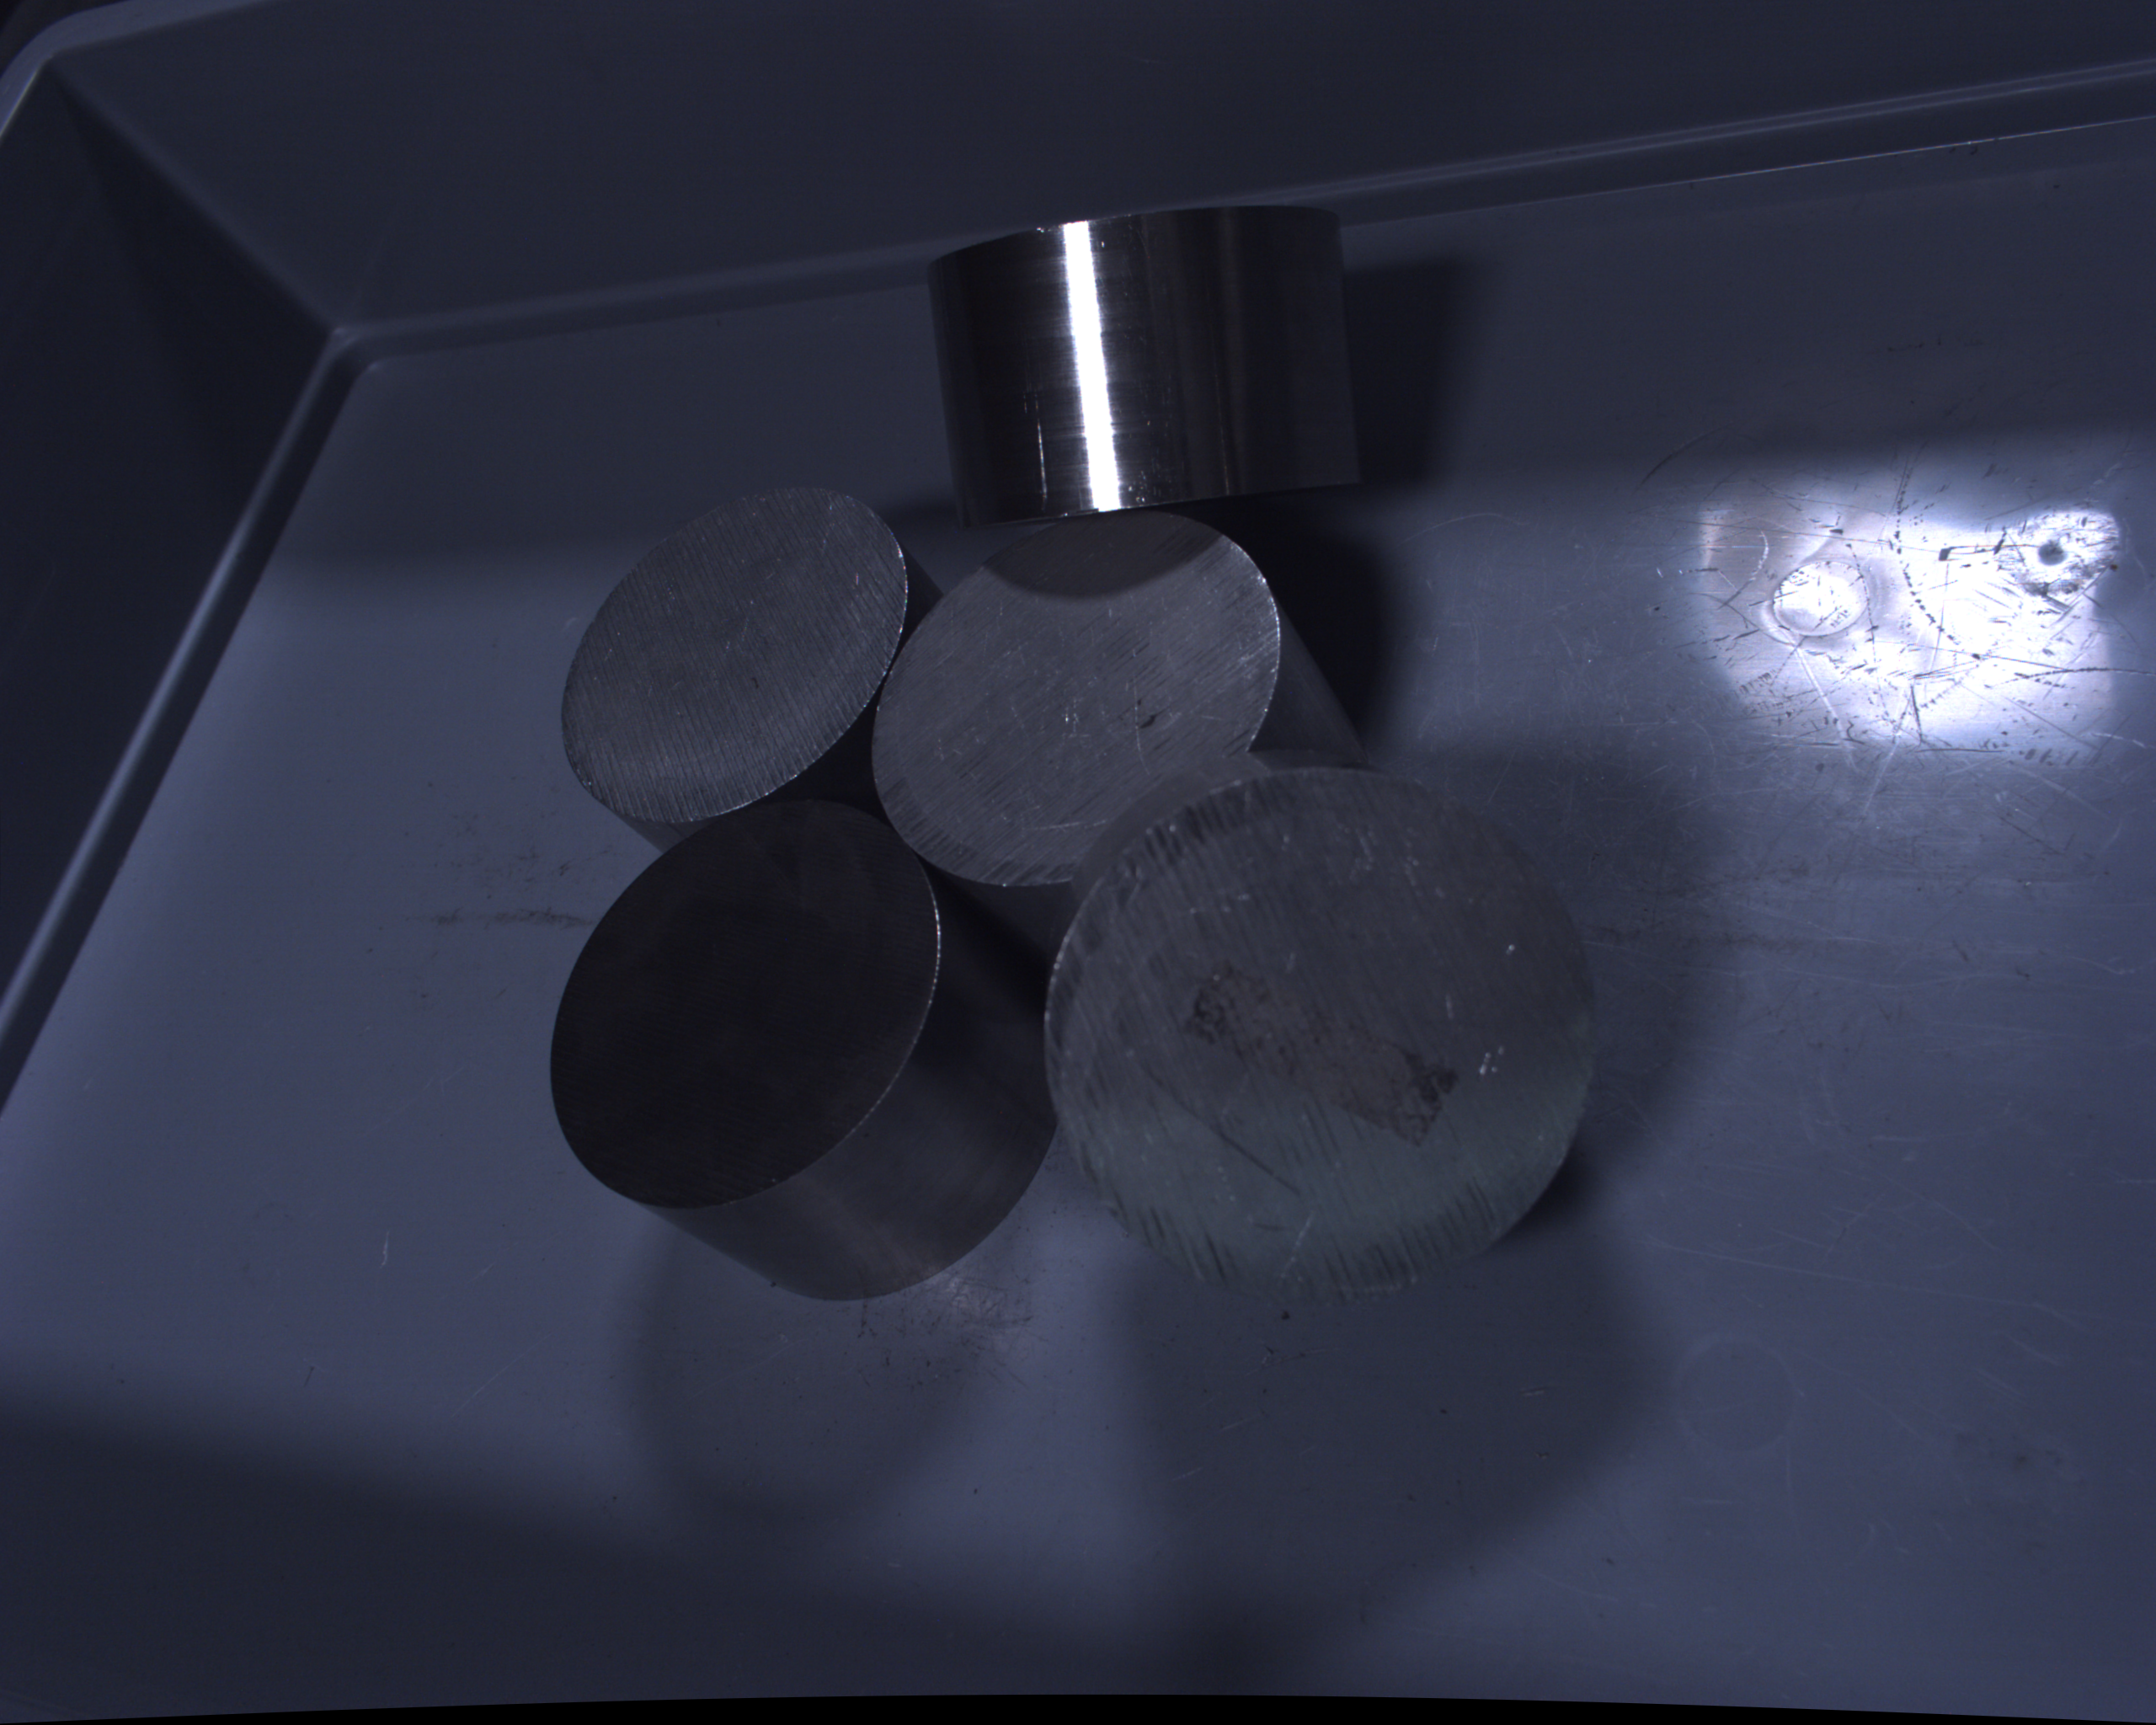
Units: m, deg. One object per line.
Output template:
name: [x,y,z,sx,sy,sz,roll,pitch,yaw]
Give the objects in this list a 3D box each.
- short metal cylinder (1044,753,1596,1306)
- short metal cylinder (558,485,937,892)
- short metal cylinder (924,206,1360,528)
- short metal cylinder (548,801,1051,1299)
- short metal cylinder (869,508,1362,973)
short metal cylinder: [0.035,0.023,0.328,0.081,0.050,0.079,0,96,-1]
short metal cylinder: [-0.060,-0.031,0.436,0.080,0.050,0.080,-13,56,20]
short metal cylinder: [0.013,-0.095,0.409,0.080,0.080,0.050,-3,99,26]
short metal cylinder: [-0.050,0.035,0.390,0.080,0.050,0.080,-13,56,20]
short metal cylinder: [0.008,-0.020,0.394,0.080,0.050,0.080,-13,56,20]
